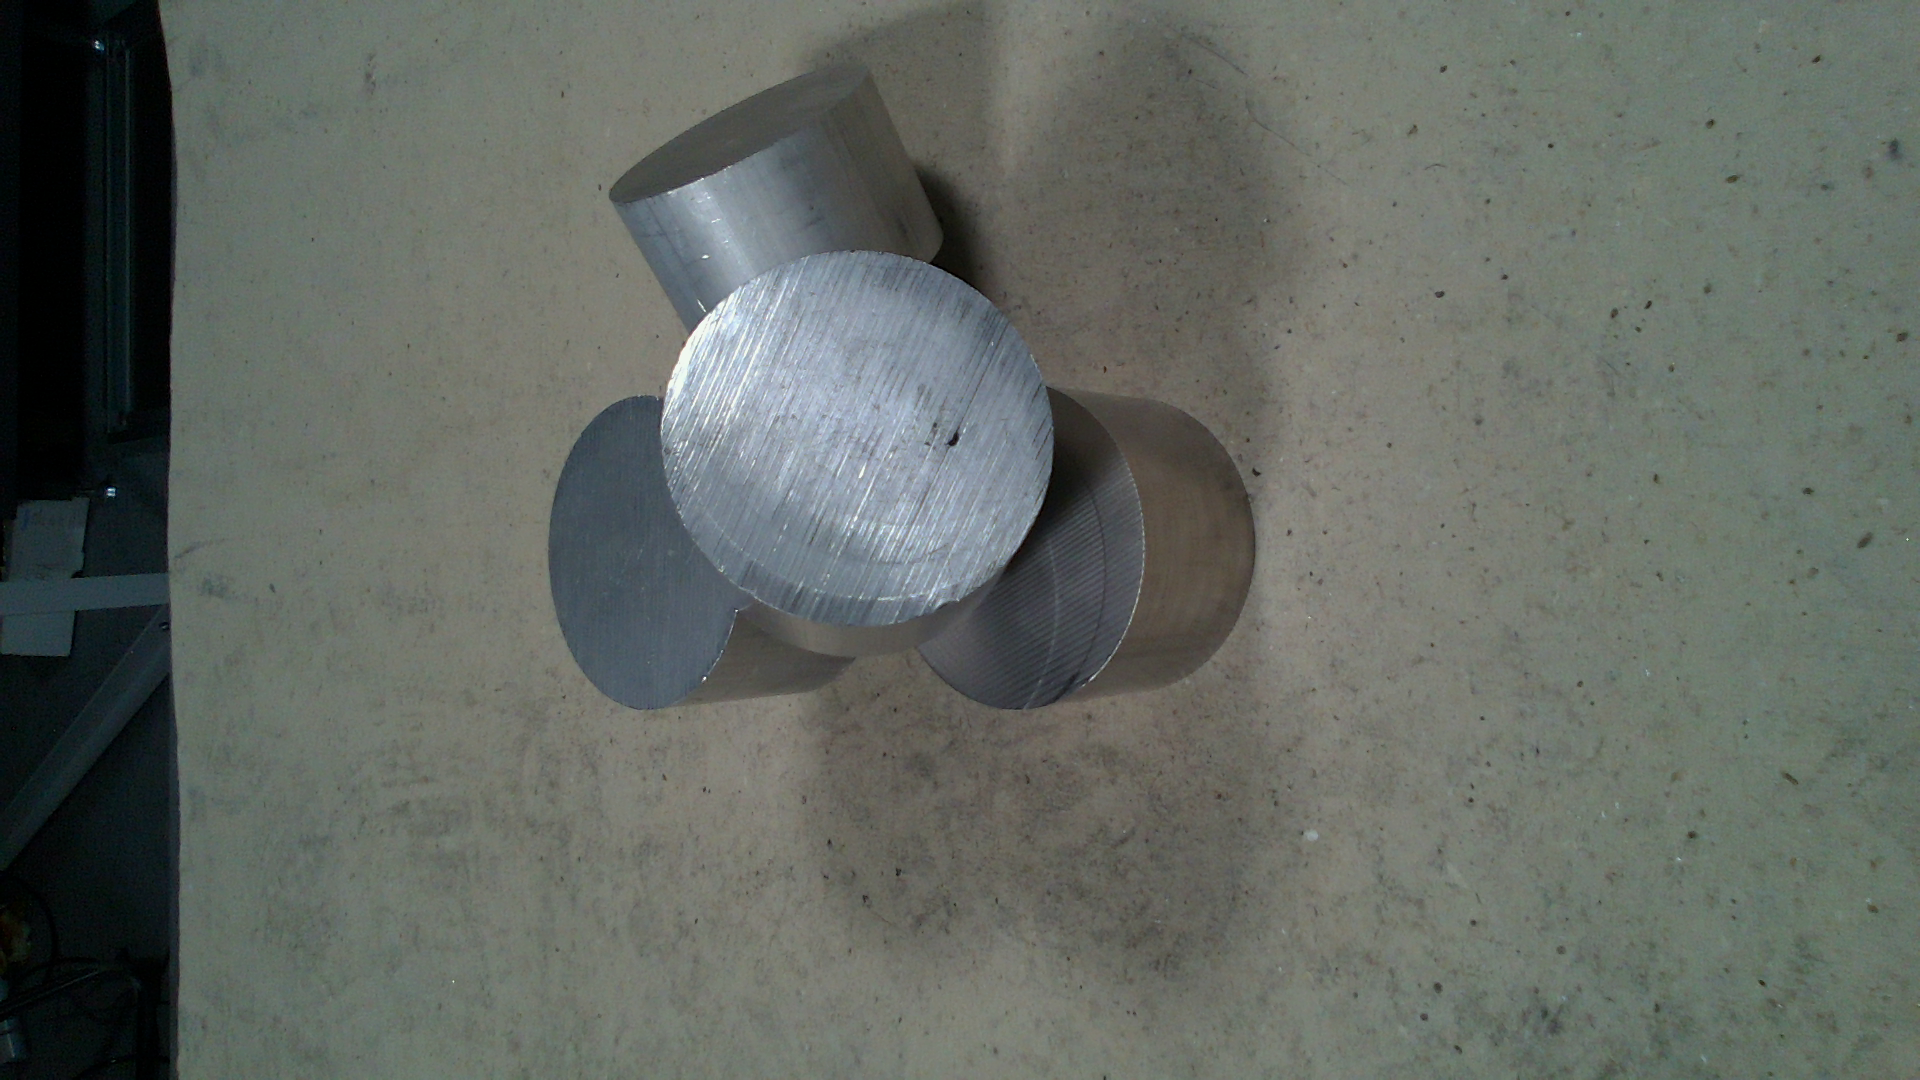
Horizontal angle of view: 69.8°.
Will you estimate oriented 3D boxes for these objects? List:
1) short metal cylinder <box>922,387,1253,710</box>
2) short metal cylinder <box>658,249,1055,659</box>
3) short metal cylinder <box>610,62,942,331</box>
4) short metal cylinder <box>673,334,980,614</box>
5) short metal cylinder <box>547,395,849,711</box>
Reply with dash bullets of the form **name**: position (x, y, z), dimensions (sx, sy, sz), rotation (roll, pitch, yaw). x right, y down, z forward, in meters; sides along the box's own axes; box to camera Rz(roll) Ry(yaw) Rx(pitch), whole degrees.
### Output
- **short metal cylinder**: position (0.028, 0.001, 0.355), dimensions (0.080, 0.050, 0.080), rotation (0, 90, 40)
- **short metal cylinder**: position (-0.023, -0.016, 0.303), dimensions (0.050, 0.080, 0.080), rotation (115, 143, -76)
- **short metal cylinder**: position (-0.052, -0.094, 0.394), dimensions (0.080, 0.080, 0.050), rotation (0, 129, 40)
- **short metal cylinder**: position (-0.041, -0.019, 0.413), dimensions (0.080, 0.050, 0.080), rotation (0, 90, 40)
- **short metal cylinder**: position (-0.066, 0.003, 0.368), dimensions (0.080, 0.050, 0.080), rotation (0, 90, 40)
